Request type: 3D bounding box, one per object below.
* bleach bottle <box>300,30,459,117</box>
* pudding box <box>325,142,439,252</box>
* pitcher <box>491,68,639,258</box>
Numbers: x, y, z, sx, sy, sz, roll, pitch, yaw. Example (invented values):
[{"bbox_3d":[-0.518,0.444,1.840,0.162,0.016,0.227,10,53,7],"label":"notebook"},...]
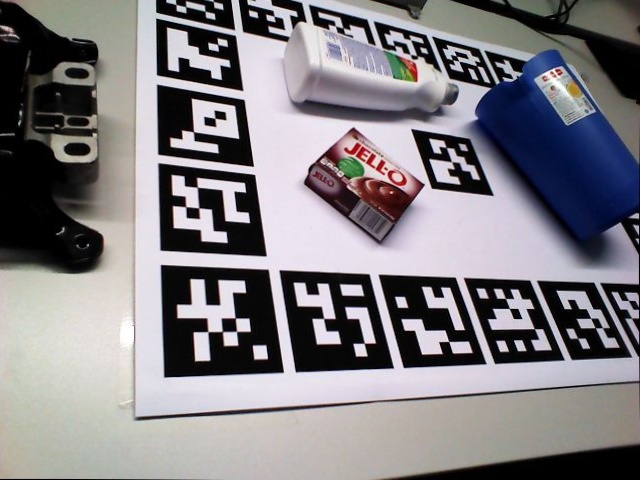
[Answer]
[{"bbox_3d":[0.102,-0.201,0.679,0.250,0.068,0.102,2,63,-27],"label":"bleach bottle"},{"bbox_3d":[0.073,-0.052,0.577,0.114,0.039,0.089,42,45,2],"label":"pudding box"},{"bbox_3d":[0.362,-0.101,0.721,0.242,0.134,0.188,61,20,12],"label":"pitcher"}]
